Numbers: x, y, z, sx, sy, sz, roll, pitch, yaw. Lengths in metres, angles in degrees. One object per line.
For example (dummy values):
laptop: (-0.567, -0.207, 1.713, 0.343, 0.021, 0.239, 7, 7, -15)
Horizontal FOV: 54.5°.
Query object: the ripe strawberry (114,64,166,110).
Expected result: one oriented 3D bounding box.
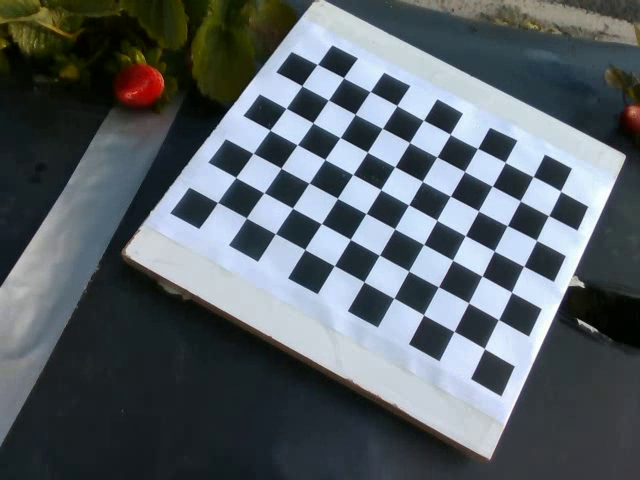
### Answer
ripe strawberry: (-0.132, -0.110, 0.442, 0.050, 0.055, 0.036, 27, -42, -3)
